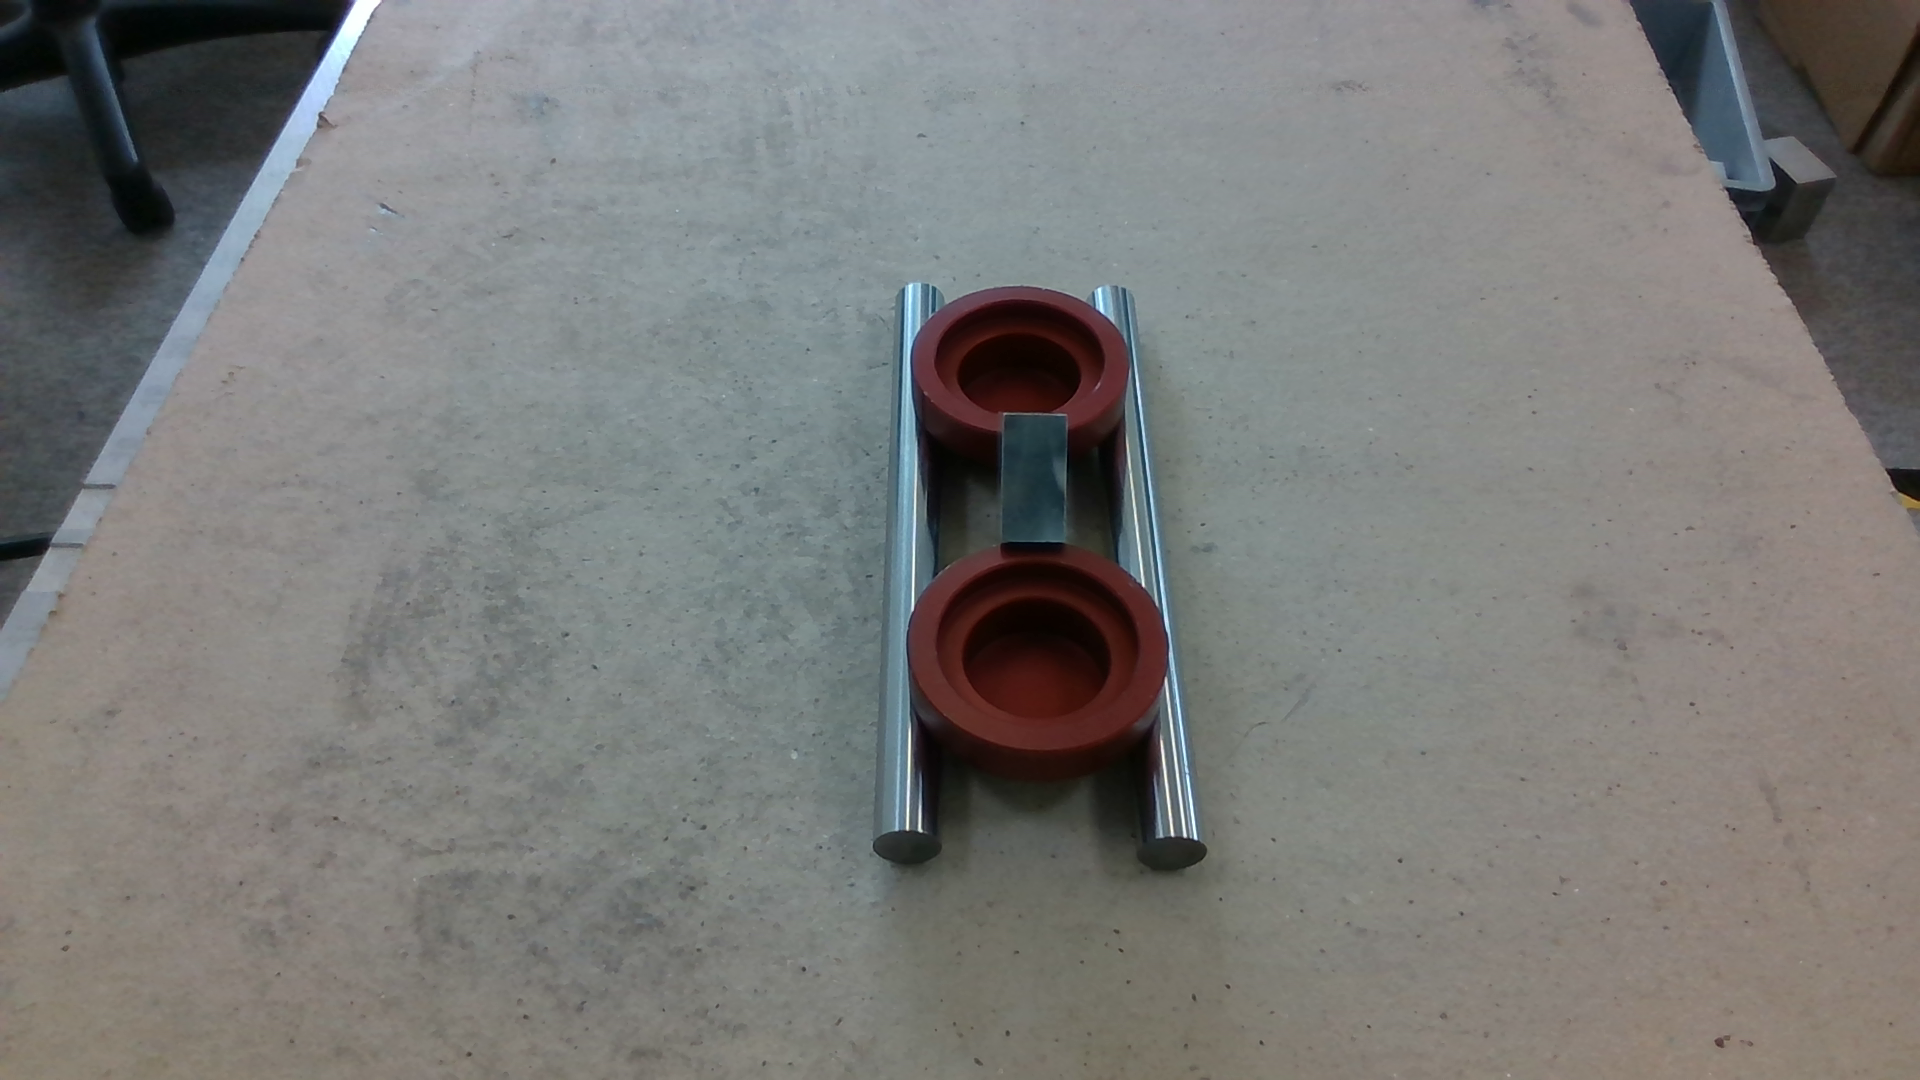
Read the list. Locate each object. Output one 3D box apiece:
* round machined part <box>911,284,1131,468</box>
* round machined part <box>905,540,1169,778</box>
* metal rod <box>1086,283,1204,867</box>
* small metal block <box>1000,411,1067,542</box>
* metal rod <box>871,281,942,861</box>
[{"bbox_3d":[0.027,-0.070,0.629,0.098,0.042,0.098,0,50,0],"label":"round machined part"},{"bbox_3d":[0.029,0.049,0.529,0.098,0.042,0.098,0,50,0],"label":"round machined part"},{"bbox_3d":[0.074,-0.003,0.590,0.025,0.025,0.299,0,50,0],"label":"metal rod"},{"bbox_3d":[0.028,-0.027,0.560,0.025,0.050,0.050,0,7,-1],"label":"small metal block"},{"bbox_3d":[-0.020,-0.005,0.591,0.025,0.025,0.299,0,50,0],"label":"metal rod"}]
